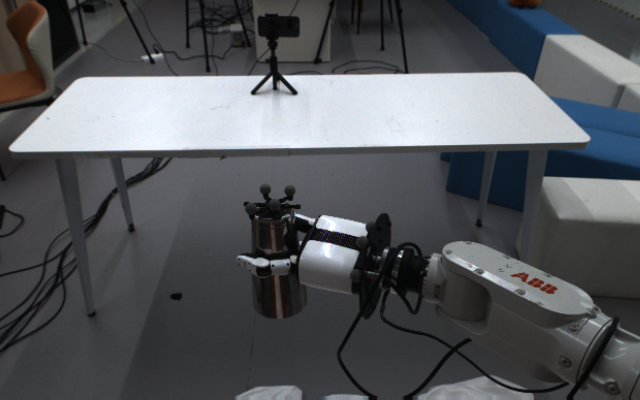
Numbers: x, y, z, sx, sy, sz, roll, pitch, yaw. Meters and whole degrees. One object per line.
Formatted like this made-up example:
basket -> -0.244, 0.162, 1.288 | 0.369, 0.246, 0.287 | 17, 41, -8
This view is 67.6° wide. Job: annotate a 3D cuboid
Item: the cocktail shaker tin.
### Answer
cocktail shaker tin -> -0.068, 0.091, 0.772 | 0.093, 0.170, 0.093 | -2, 26, 1
